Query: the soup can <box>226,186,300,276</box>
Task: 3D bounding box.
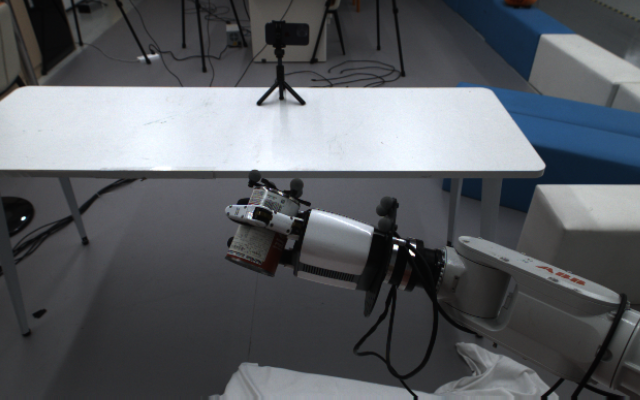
[{"bbox_3d":[-0.072,0.042,0.632,0.067,0.067,0.101,16,75,19],"label":"soup can"}]
